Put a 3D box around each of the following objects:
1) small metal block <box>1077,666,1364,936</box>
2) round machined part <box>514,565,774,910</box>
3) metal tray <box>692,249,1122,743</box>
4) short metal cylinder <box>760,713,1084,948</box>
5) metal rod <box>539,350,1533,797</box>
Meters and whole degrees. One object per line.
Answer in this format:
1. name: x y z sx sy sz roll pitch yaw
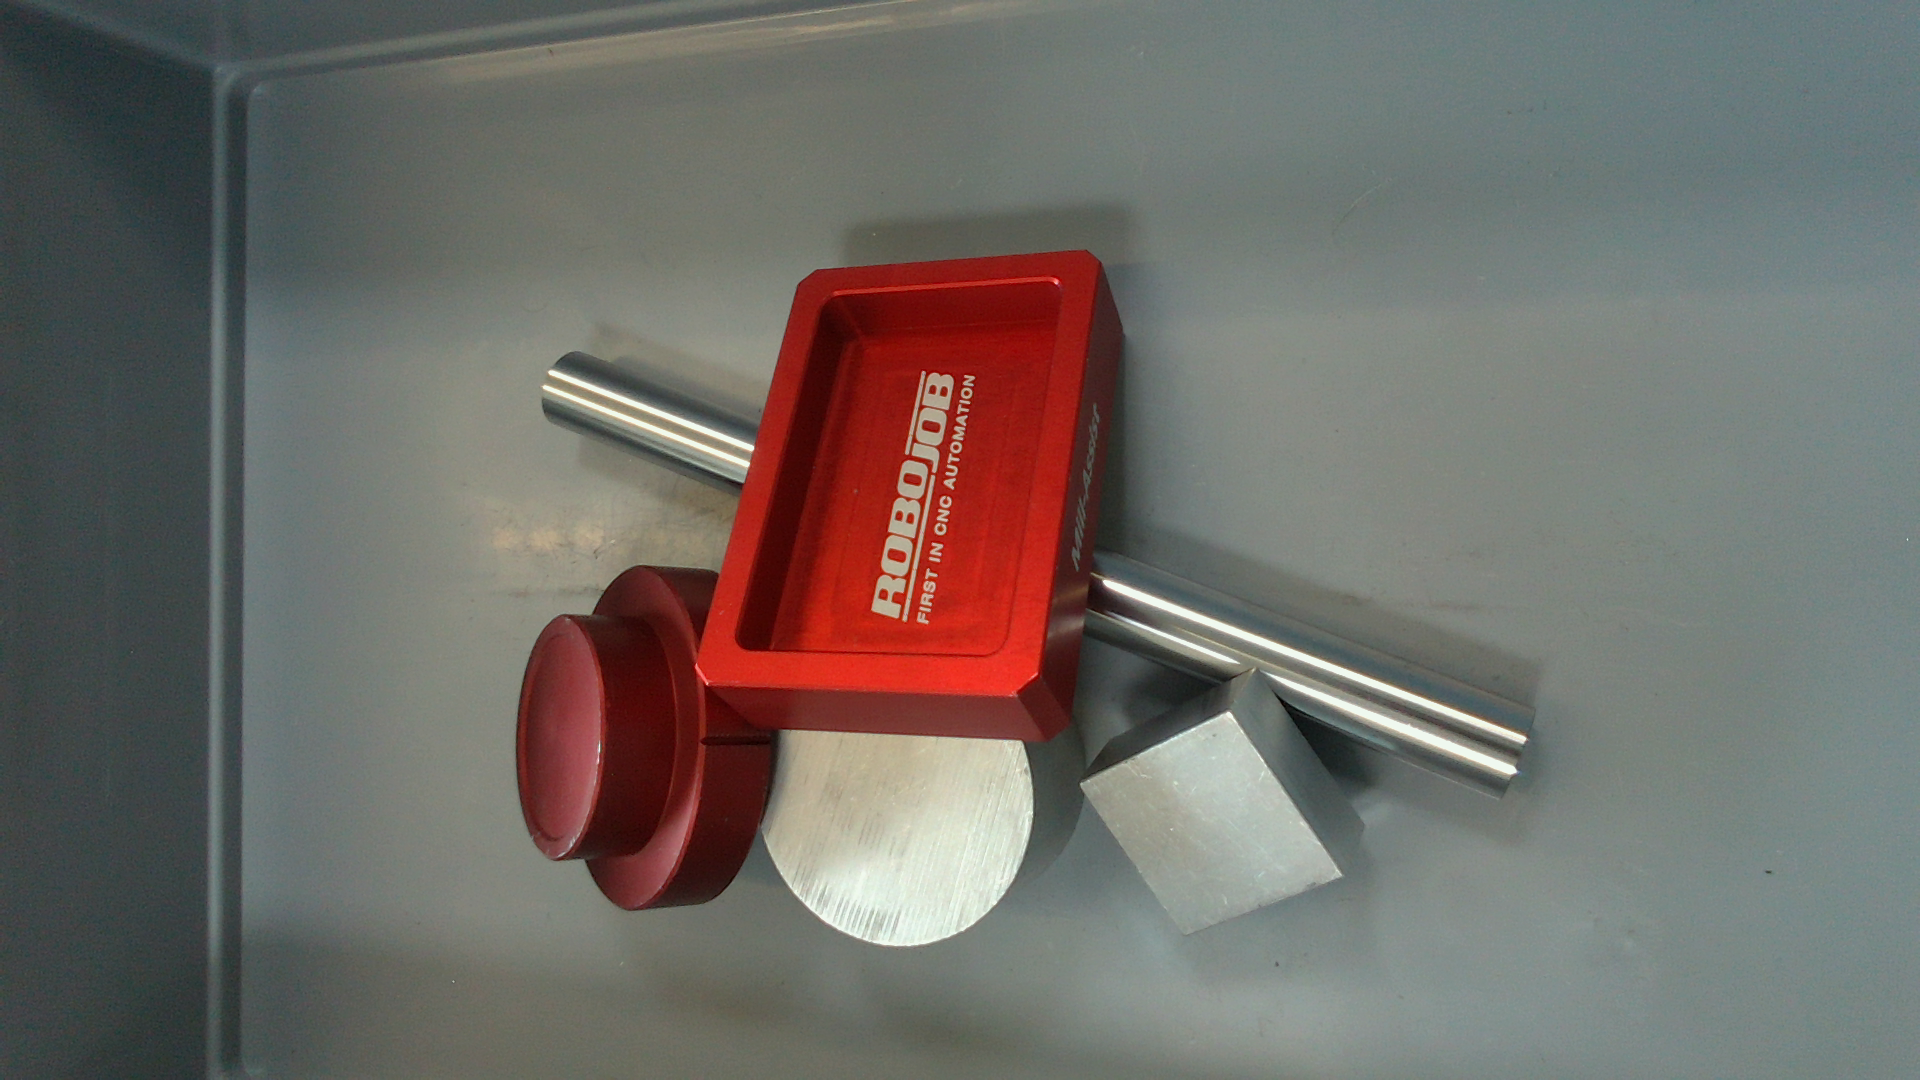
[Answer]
1. small metal block: 0.068 0.069 0.359 0.050 0.025 0.050 -33 95 33
2. round machined part: -0.096 0.056 0.395 0.098 0.042 0.098 -9 78 52
3. metal tray: -0.010 -0.014 0.364 0.090 0.030 0.130 0 61 19
4. short metal cylinder: -0.010 0.067 0.385 0.080 0.050 0.080 0 90 20
5. metal rod: 0.007 0.002 0.392 0.299 0.025 0.025 21 97 19
